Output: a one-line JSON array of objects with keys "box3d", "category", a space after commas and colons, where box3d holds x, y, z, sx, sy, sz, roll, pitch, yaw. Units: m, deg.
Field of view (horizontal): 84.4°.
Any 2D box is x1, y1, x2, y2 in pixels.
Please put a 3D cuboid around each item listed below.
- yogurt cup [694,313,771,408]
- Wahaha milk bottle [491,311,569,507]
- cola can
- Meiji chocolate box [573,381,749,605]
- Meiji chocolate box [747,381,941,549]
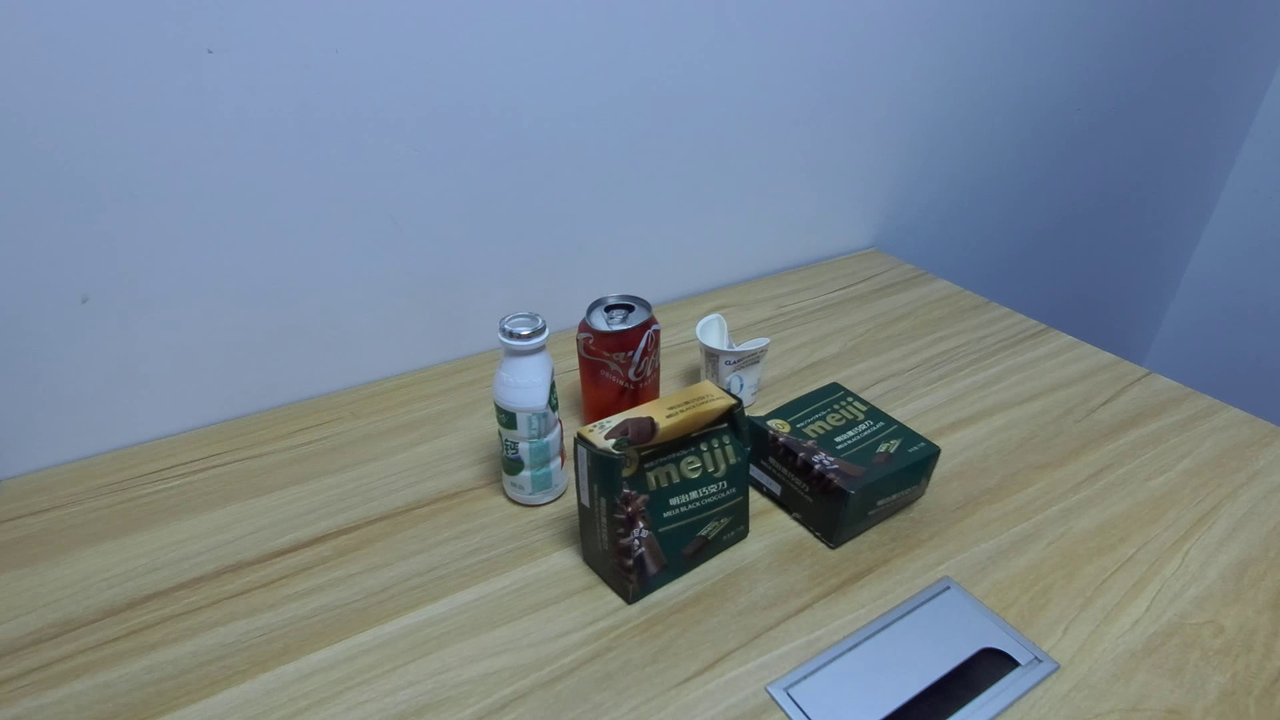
[{"box3d": [0.081, 0.004, 0.645, 0.067, 0.070, 0.067, 2, 32, -1], "category": "yogurt cup"}, {"box3d": [-0.080, 0.037, 0.518, 0.056, 0.148, 0.056, 1, 30, 0], "category": "Wahaha milk bottle"}, {"box3d": [-0.013, 0.008, 0.593, 0.066, 0.117, 0.072, -24, 38, -34], "category": "cola can"}, {"box3d": [0.019, 0.084, 0.477, 0.118, 0.117, 0.051, -20, 29, -30], "category": "Meiji chocolate box"}, {"box3d": [0.152, 0.076, 0.548, 0.116, 0.058, 0.122, -18, 37, -32], "category": "Meiji chocolate box"}]
